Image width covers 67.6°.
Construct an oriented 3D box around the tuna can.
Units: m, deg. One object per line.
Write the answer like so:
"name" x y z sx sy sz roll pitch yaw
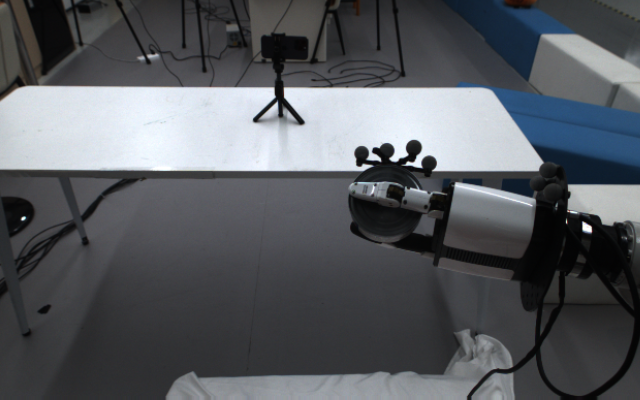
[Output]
"tuna can" 0.077 0.001 0.555 0.085 0.034 0.085 -2 70 7
